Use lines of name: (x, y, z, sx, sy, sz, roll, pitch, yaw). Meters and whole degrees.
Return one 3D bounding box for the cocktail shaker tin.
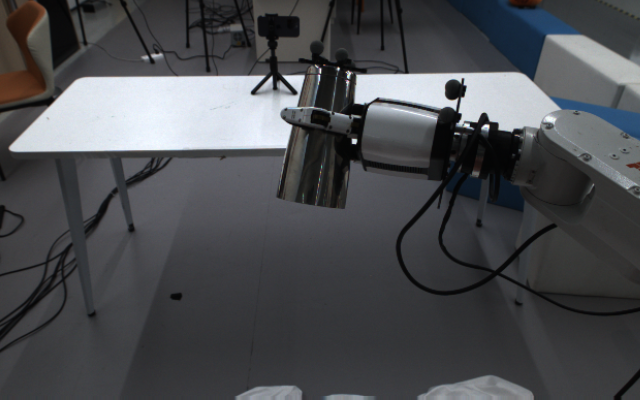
cocktail shaker tin: (0.002, -0.080, 0.624, 0.093, 0.170, 0.093, 9, 3, 0)
